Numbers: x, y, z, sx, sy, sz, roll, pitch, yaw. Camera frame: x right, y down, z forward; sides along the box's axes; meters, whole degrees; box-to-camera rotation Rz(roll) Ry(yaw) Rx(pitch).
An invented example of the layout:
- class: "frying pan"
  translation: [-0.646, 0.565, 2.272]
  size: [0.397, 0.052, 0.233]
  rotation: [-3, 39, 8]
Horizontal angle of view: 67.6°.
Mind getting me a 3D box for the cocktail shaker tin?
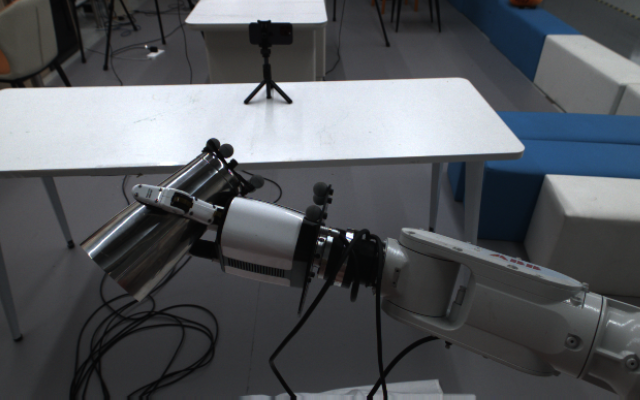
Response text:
- class: "cocktail shaker tin"
  translation: [-0.174, 0.019, 0.558]
  size: [0.093, 0.093, 0.170]
  rotation: [32, 65, 35]
